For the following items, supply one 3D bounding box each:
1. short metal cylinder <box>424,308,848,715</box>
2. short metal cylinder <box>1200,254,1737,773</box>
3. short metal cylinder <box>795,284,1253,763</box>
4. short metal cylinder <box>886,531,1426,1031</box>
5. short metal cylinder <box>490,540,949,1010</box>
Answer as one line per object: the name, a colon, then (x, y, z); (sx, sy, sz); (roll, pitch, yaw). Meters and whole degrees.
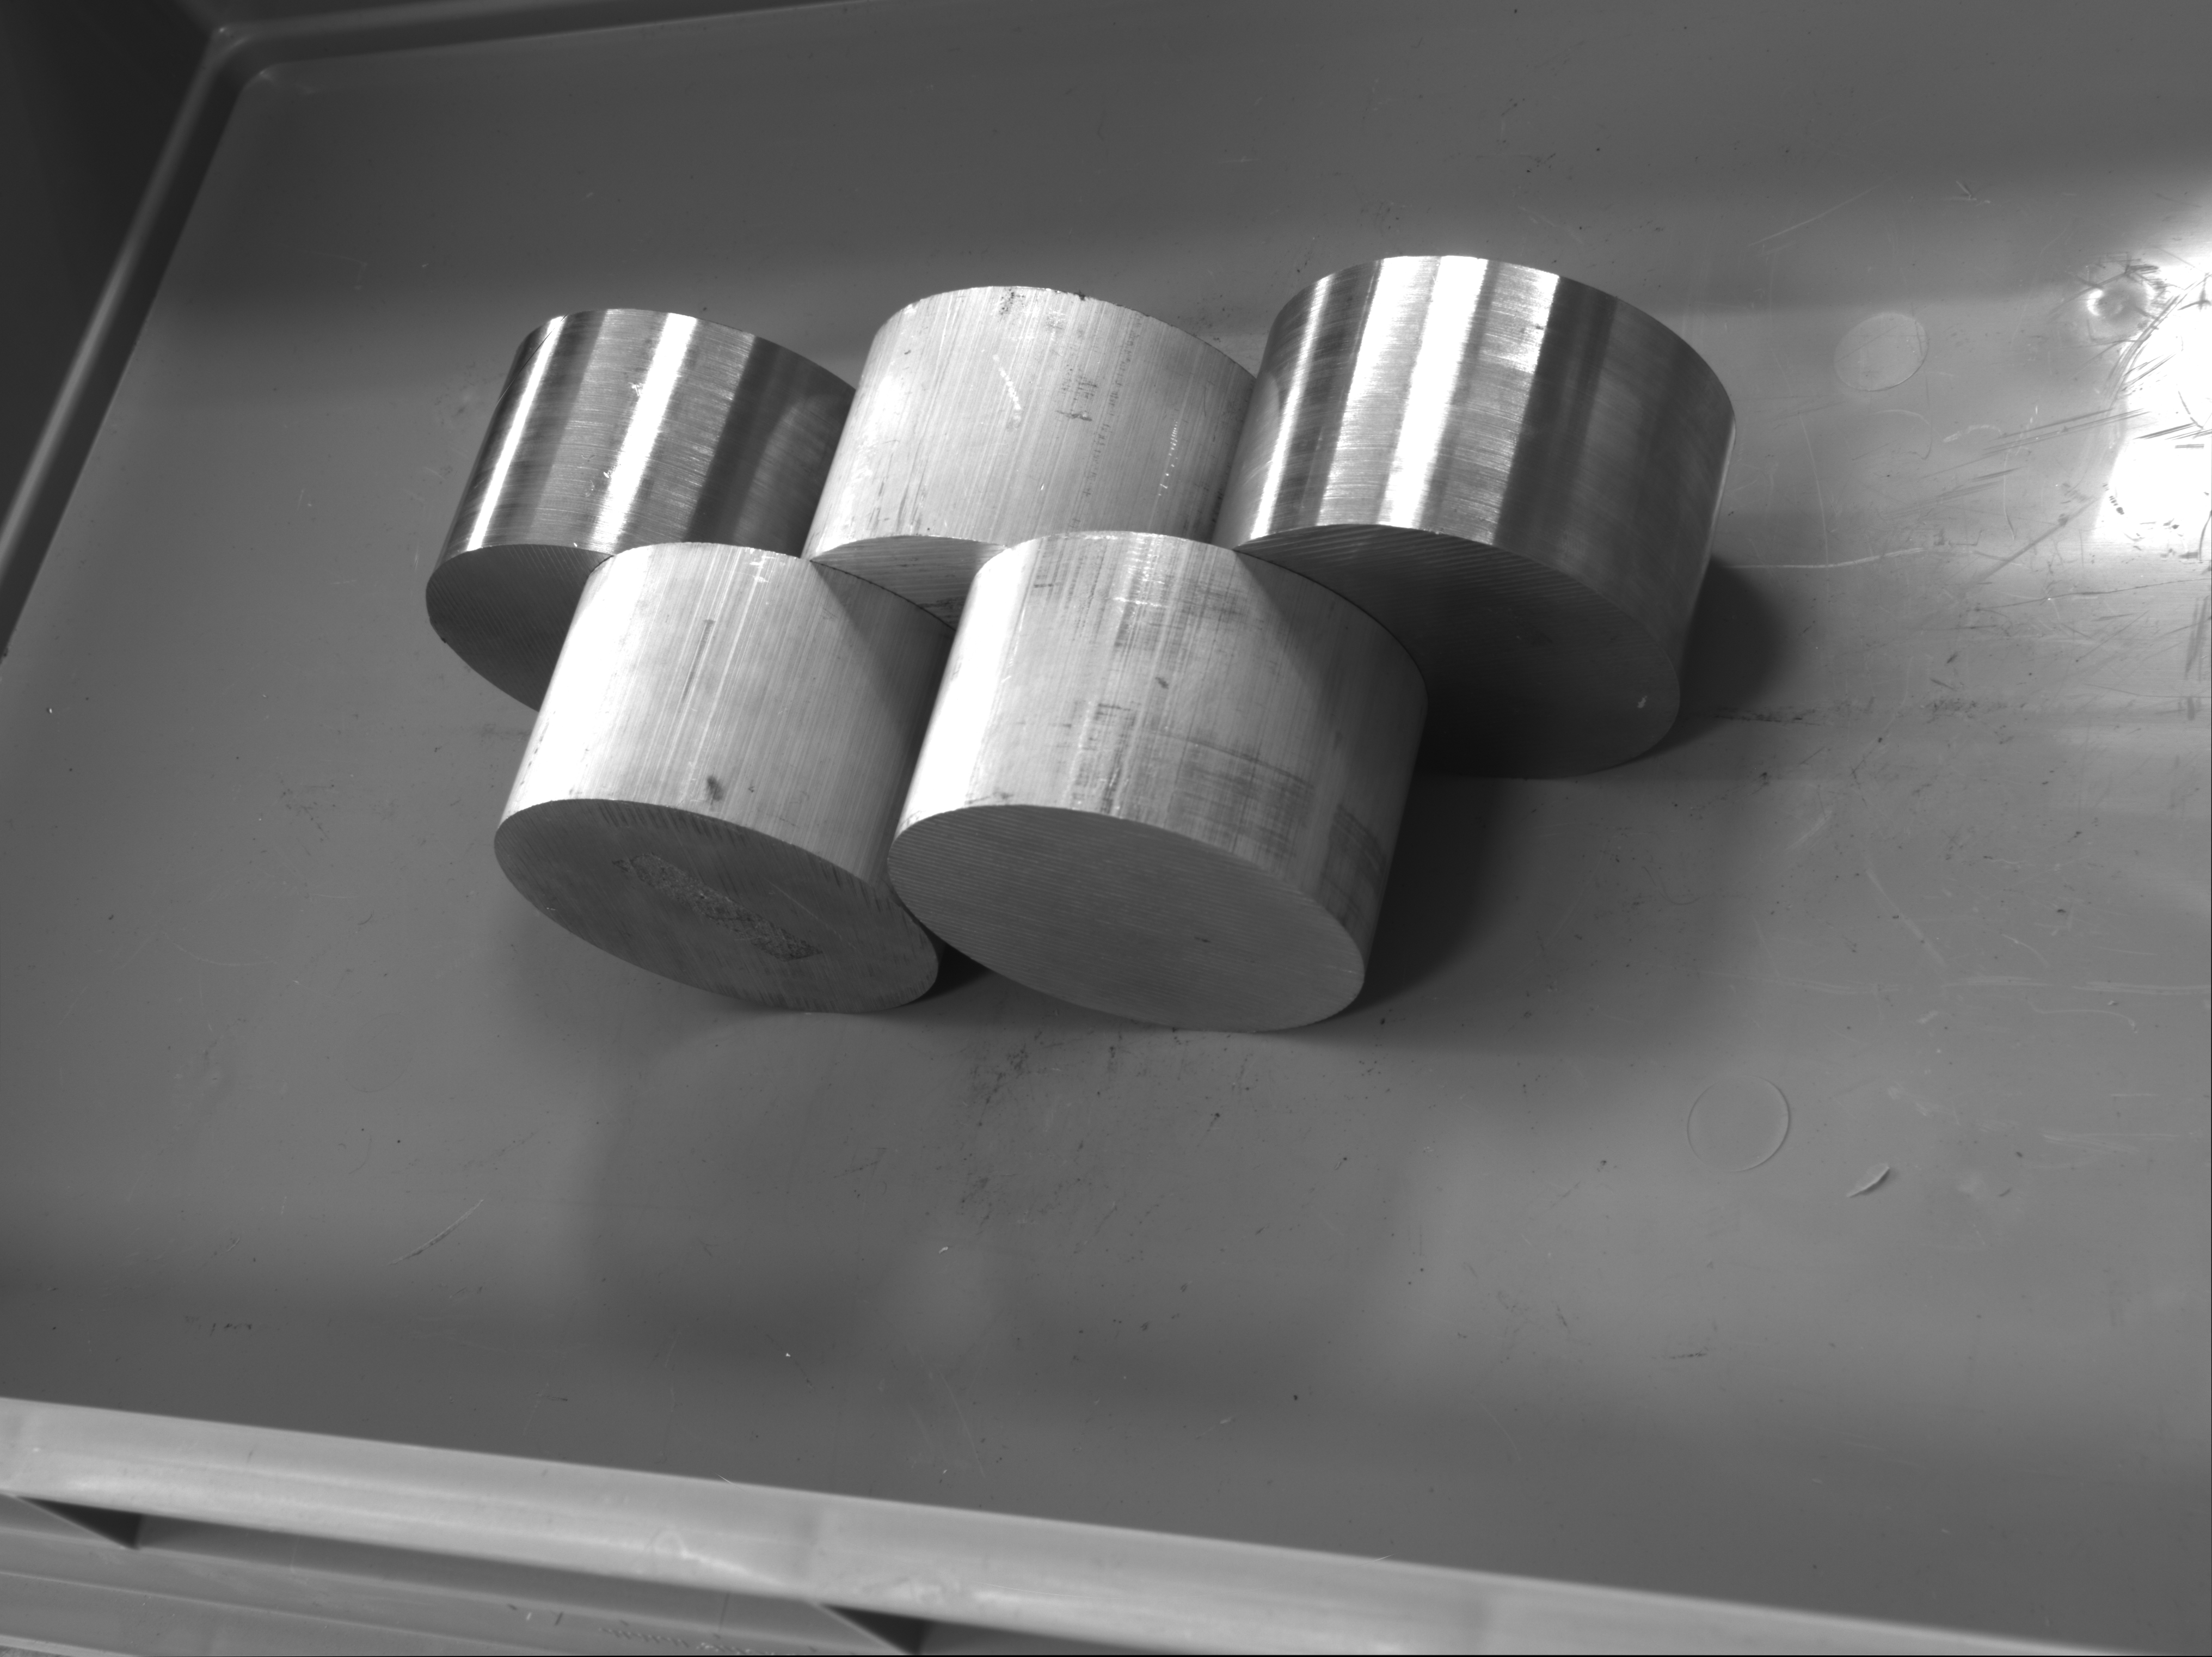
short metal cylinder: (-0.081, -0.053, 0.684); (0.080, 0.080, 0.050); (1, 62, 29)
short metal cylinder: (0.060, -0.051, 0.606); (0.080, 0.080, 0.050); (2, 62, 29)
short metal cylinder: (-0.010, -0.052, 0.645); (0.080, 0.080, 0.050); (1, 62, 29)
short metal cylinder: (0.009, -0.007, 0.607); (0.080, 0.080, 0.050); (1, 62, 29)
short metal cylinder: (-0.062, -0.008, 0.646); (0.080, 0.080, 0.050); (1, 62, 29)
